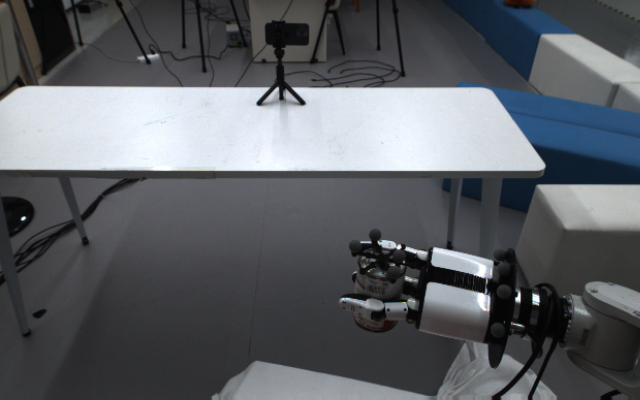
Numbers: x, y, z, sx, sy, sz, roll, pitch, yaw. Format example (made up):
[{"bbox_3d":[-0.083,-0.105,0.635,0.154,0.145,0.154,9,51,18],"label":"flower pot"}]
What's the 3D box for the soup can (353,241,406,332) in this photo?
[{"bbox_3d":[0.084,0.127,0.679,0.067,0.101,0.067,2,32,-1],"label":"soup can"}]
